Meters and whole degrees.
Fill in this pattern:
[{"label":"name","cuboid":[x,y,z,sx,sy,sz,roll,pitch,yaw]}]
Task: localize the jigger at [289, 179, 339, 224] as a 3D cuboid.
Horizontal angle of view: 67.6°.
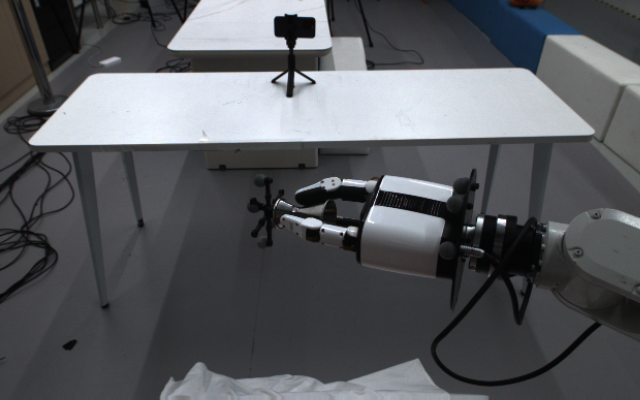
[{"label":"jigger","cuboid":[-0.012,0.016,0.596,0.071,0.043,0.043,4,33,23]}]
